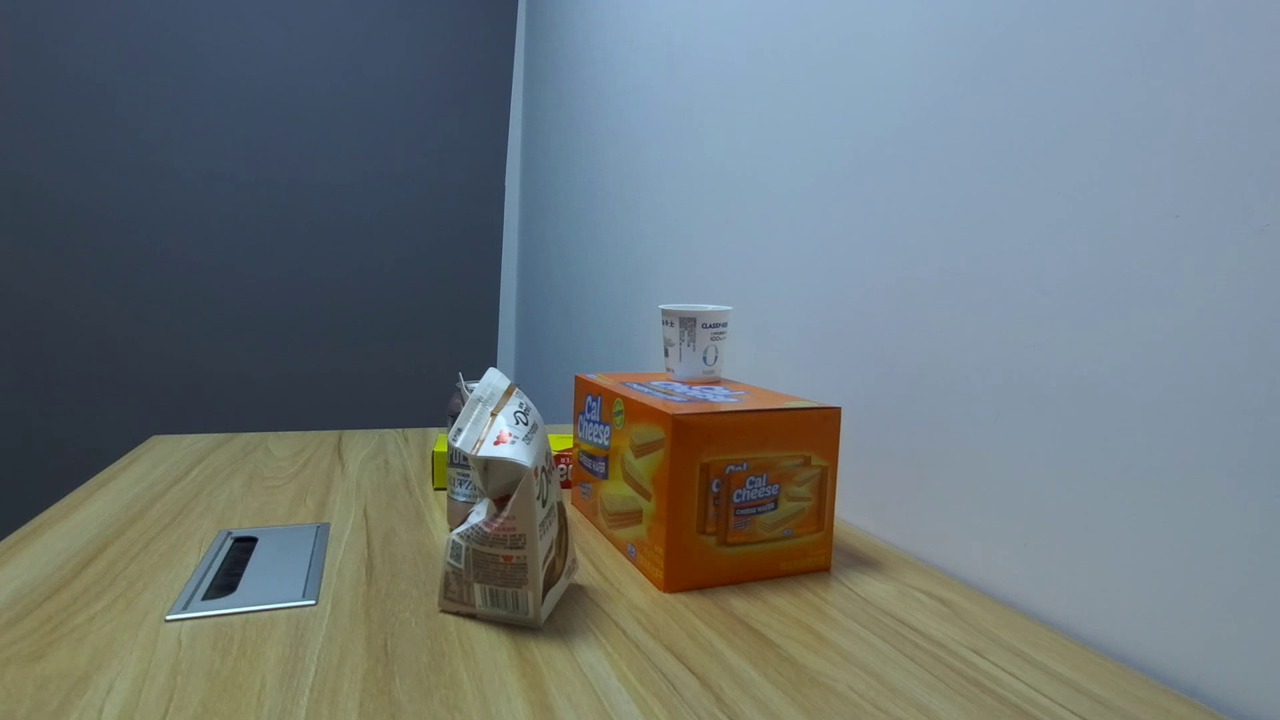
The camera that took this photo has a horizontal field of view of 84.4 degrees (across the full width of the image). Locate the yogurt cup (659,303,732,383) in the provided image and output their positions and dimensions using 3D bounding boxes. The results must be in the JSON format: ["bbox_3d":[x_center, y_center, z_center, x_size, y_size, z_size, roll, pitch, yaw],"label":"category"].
[{"bbox_3d":[0.052,-0.016,0.669,0.072,0.068,0.072,2,8,0],"label":"yogurt cup"}]

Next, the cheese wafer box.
[{"bbox_3d":[0.043,0.088,0.606,0.149,0.129,0.221,0,6,-23],"label":"cheese wafer box"}]

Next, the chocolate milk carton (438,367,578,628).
[{"bbox_3d":[-0.090,0.089,0.458,0.076,0.155,0.089,-1,19,12],"label":"chocolate milk carton"}]
